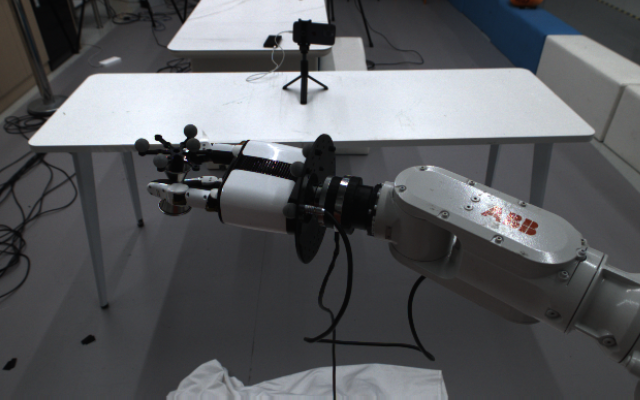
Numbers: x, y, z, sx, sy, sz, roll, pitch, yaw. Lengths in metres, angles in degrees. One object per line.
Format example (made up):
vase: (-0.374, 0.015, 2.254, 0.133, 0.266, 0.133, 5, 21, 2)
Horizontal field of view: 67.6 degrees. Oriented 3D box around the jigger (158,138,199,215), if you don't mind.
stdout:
jigger: (-0.187, -0.018, 0.632, 0.043, 0.071, 0.043, 9, 36, -7)
